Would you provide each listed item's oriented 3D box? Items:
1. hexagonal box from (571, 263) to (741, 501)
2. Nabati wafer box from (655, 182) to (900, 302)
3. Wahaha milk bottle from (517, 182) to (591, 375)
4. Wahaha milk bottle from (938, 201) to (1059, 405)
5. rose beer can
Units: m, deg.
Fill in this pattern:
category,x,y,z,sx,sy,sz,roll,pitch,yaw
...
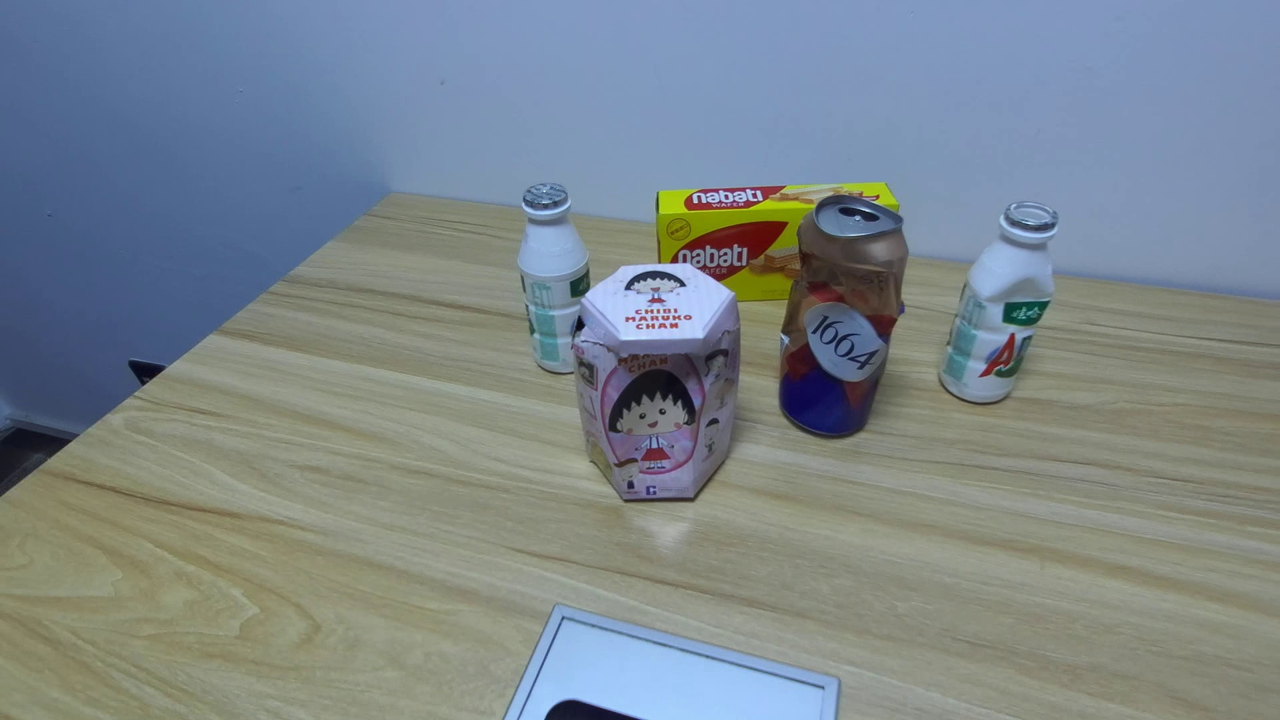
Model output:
category,x,y,z,sx,sy,sz,roll,pitch,yaw
hexagonal box,0.010,0.015,0.452,0.091,0.135,0.090,26,45,32
Nabati wafer box,0.116,-0.101,0.619,0.203,0.093,0.042,-3,39,-2
Wahaha milk bottle,-0.063,-0.059,0.535,0.053,0.147,0.053,-2,37,2
Wahaha milk bottle,0.252,-0.037,0.494,0.056,0.148,0.056,-1,40,1
rose beer can,0.132,-0.024,0.472,0.073,0.162,0.068,11,39,14
